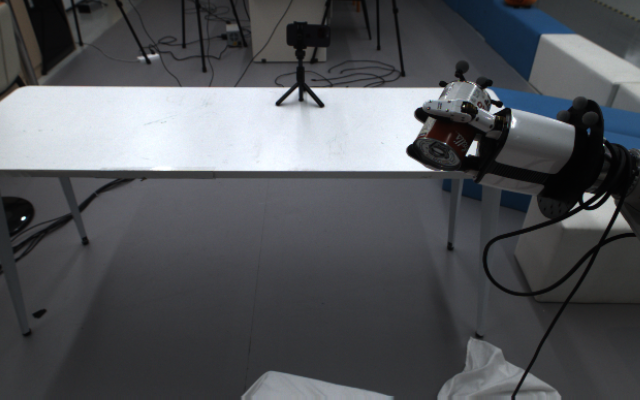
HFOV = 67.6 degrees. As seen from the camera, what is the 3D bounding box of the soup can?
[{"bbox_3d":[0.176,-0.099,0.637,0.067,0.067,0.101,22,71,27],"label":"soup can"}]
